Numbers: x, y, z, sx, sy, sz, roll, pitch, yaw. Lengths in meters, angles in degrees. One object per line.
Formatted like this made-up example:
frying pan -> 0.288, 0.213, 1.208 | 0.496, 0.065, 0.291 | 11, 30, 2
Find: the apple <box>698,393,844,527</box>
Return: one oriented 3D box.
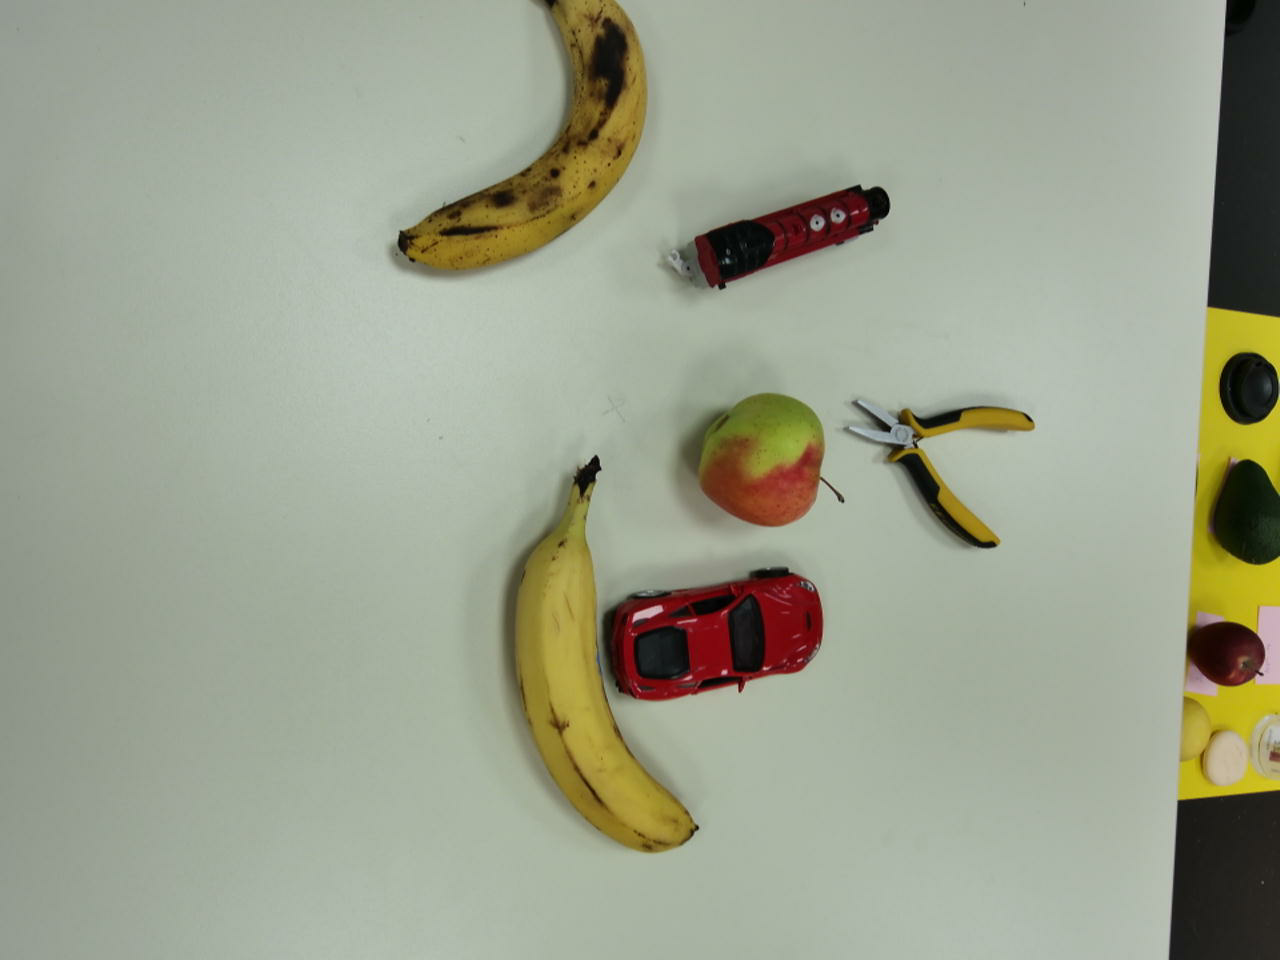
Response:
apple -> 0.070, -0.010, 0.561 | 0.075, 0.074, 0.075 | -16, 96, -21
